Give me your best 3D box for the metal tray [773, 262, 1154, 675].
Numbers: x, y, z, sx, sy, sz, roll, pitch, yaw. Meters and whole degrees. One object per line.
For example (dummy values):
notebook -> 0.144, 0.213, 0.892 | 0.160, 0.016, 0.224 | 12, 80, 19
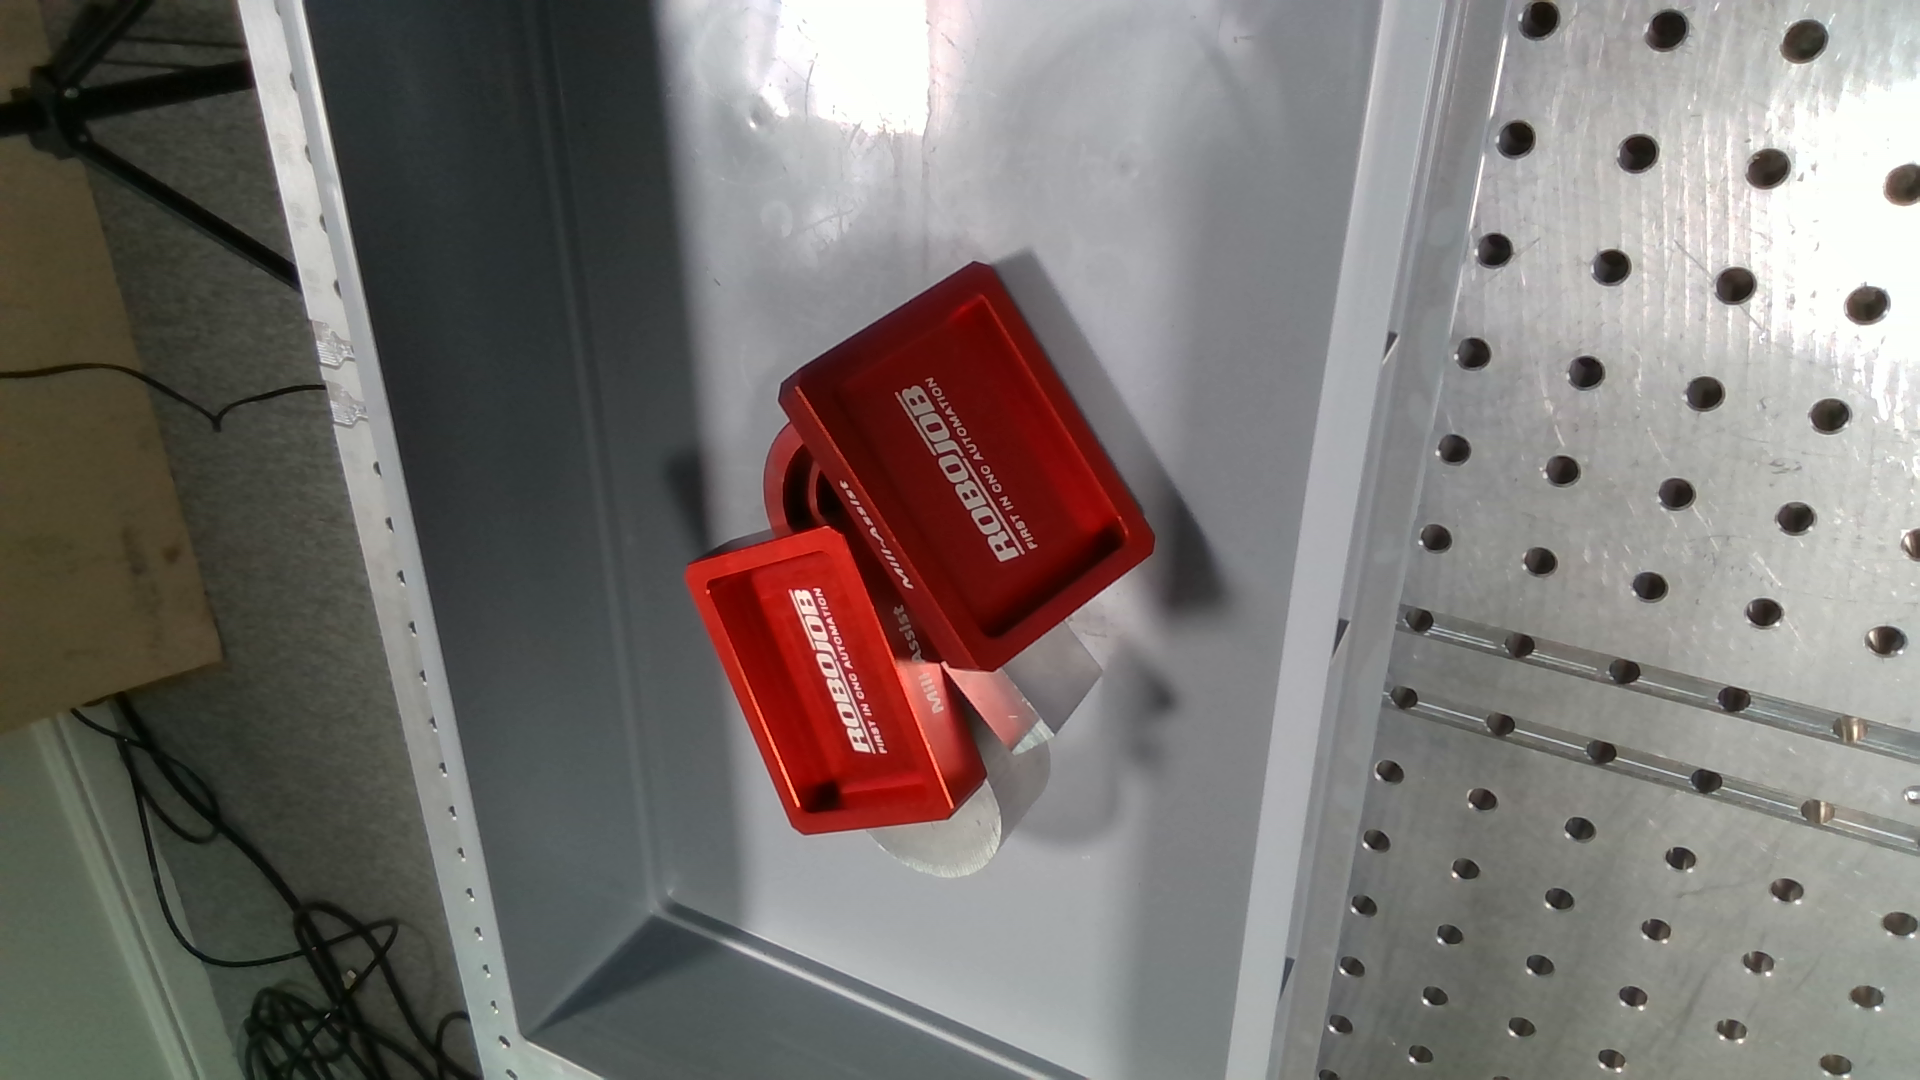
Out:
metal tray -> 0.003, -0.026, 0.518 | 0.130, 0.090, 0.030 | 57, 161, -8

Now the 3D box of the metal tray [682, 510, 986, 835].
metal tray -> -0.053, 0.056, 0.577 | 0.090, 0.030, 0.130 | -14, 103, 35

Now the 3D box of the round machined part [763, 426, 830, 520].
round machined part -> -0.031, -0.018, 0.578 | 0.098, 0.042, 0.098 | 14, 122, 25

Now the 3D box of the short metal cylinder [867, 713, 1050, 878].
short metal cylinder -> -0.006, 0.105, 0.623 | 0.080, 0.050, 0.080 | 14, 122, 25

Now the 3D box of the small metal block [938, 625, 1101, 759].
small metal block -> 0.026, 0.054, 0.575 | 0.025, 0.050, 0.050 | -34, 96, 39
